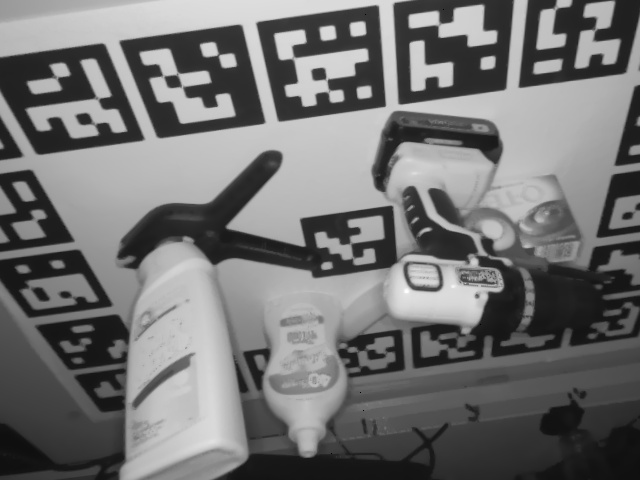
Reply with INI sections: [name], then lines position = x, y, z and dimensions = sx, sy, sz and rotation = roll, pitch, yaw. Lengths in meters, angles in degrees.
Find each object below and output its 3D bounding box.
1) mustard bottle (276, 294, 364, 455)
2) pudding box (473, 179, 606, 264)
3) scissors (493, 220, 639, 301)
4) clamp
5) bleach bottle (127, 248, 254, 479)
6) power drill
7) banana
[mustard bottle]
position = -0.001, 0.147, 0.770
dimensions = 0.097, 0.193, 0.058
rotation = 3, 134, -6
[pudding box]
position = 0.217, -0.015, 0.702
dimensions = 0.114, 0.090, 0.038
rotation = -5, 140, 0
[scissors]
position = 0.230, 0.034, 0.660
dimensions = 0.204, 0.016, 0.086
rotation = 13, 127, -12
[clamp]
position = -0.099, 0.008, 0.707
dimensions = 0.202, 0.037, 0.165
rotation = -12, 131, 8
[bleach bottle]
position = -0.125, 0.097, 0.643
dimensions = 0.102, 0.251, 0.068
rotation = -26, 134, 10
[power drill]
position = 0.151, -0.012, 0.590
dimensions = 0.186, 0.188, 0.056
rotation = 0, 140, -9
[banana]
position = 0.104, 0.097, 0.825
dimensions = 0.194, 0.039, 0.075
rotation = -40, 142, 27
